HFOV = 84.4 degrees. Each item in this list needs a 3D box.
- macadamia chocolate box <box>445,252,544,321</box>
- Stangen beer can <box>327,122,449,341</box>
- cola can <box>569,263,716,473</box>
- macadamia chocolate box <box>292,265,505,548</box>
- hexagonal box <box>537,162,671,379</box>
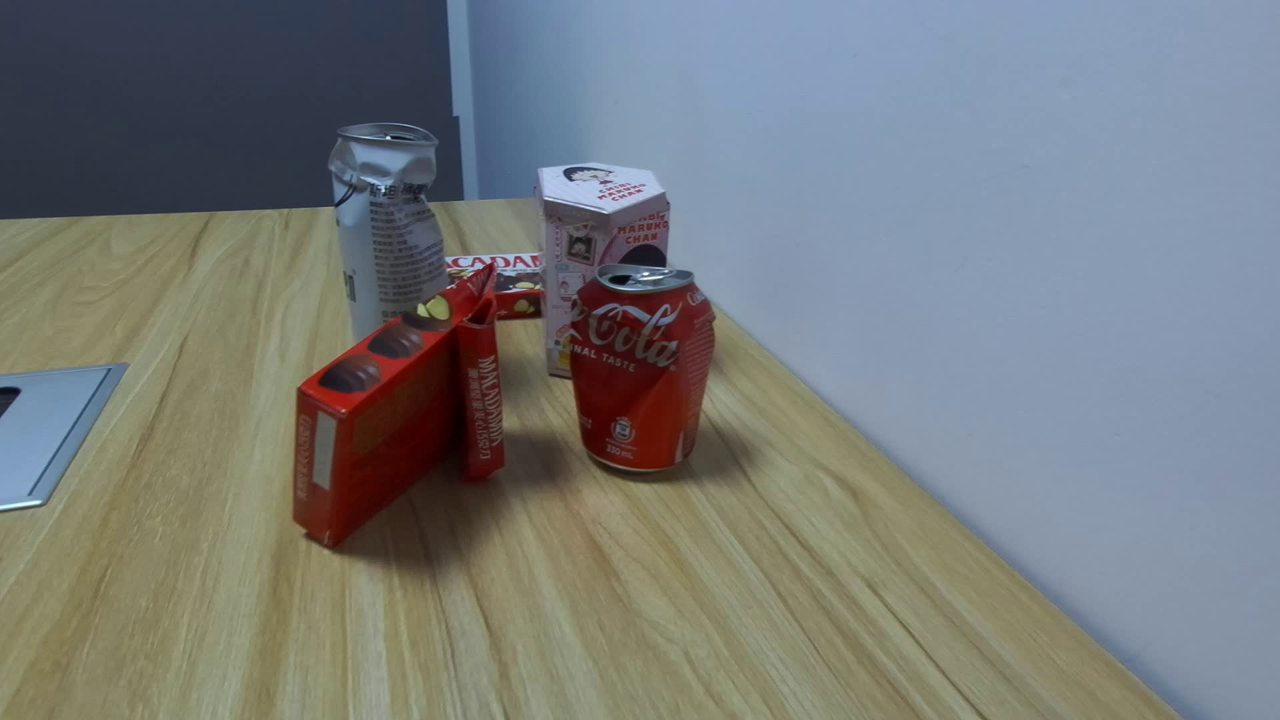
[{"bbox_3d":[-0.117,-0.066,0.635,0.187,0.027,0.102,-7,32,-20],"label":"macadamia chocolate box"},{"bbox_3d":[-0.151,-0.060,0.447,0.065,0.166,0.066,26,35,32],"label":"Stangen beer can"},{"bbox_3d":[0.002,0.004,0.395,0.066,0.112,0.069,-19,34,-36],"label":"cola can"},{"bbox_3d":[-0.112,0.021,0.353,0.056,0.112,0.127,19,31,26],"label":"macadamia chocolate box"},{"bbox_3d":[-0.027,-0.061,0.495,0.092,0.135,0.084,-18,34,-34],"label":"hexagonal box"}]
